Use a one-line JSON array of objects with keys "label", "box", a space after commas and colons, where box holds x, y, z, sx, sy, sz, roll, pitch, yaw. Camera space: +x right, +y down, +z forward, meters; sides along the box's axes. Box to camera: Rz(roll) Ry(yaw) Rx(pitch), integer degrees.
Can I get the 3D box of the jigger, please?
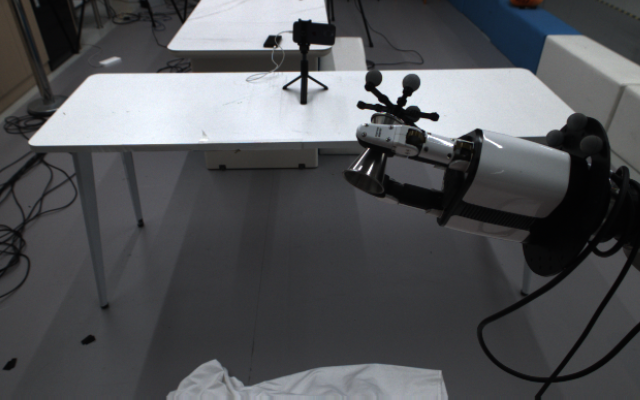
[{"label": "jigger", "box": [0.056, -0.048, 0.473, 0.043, 0.043, 0.071, 19, 72, 23]}]
